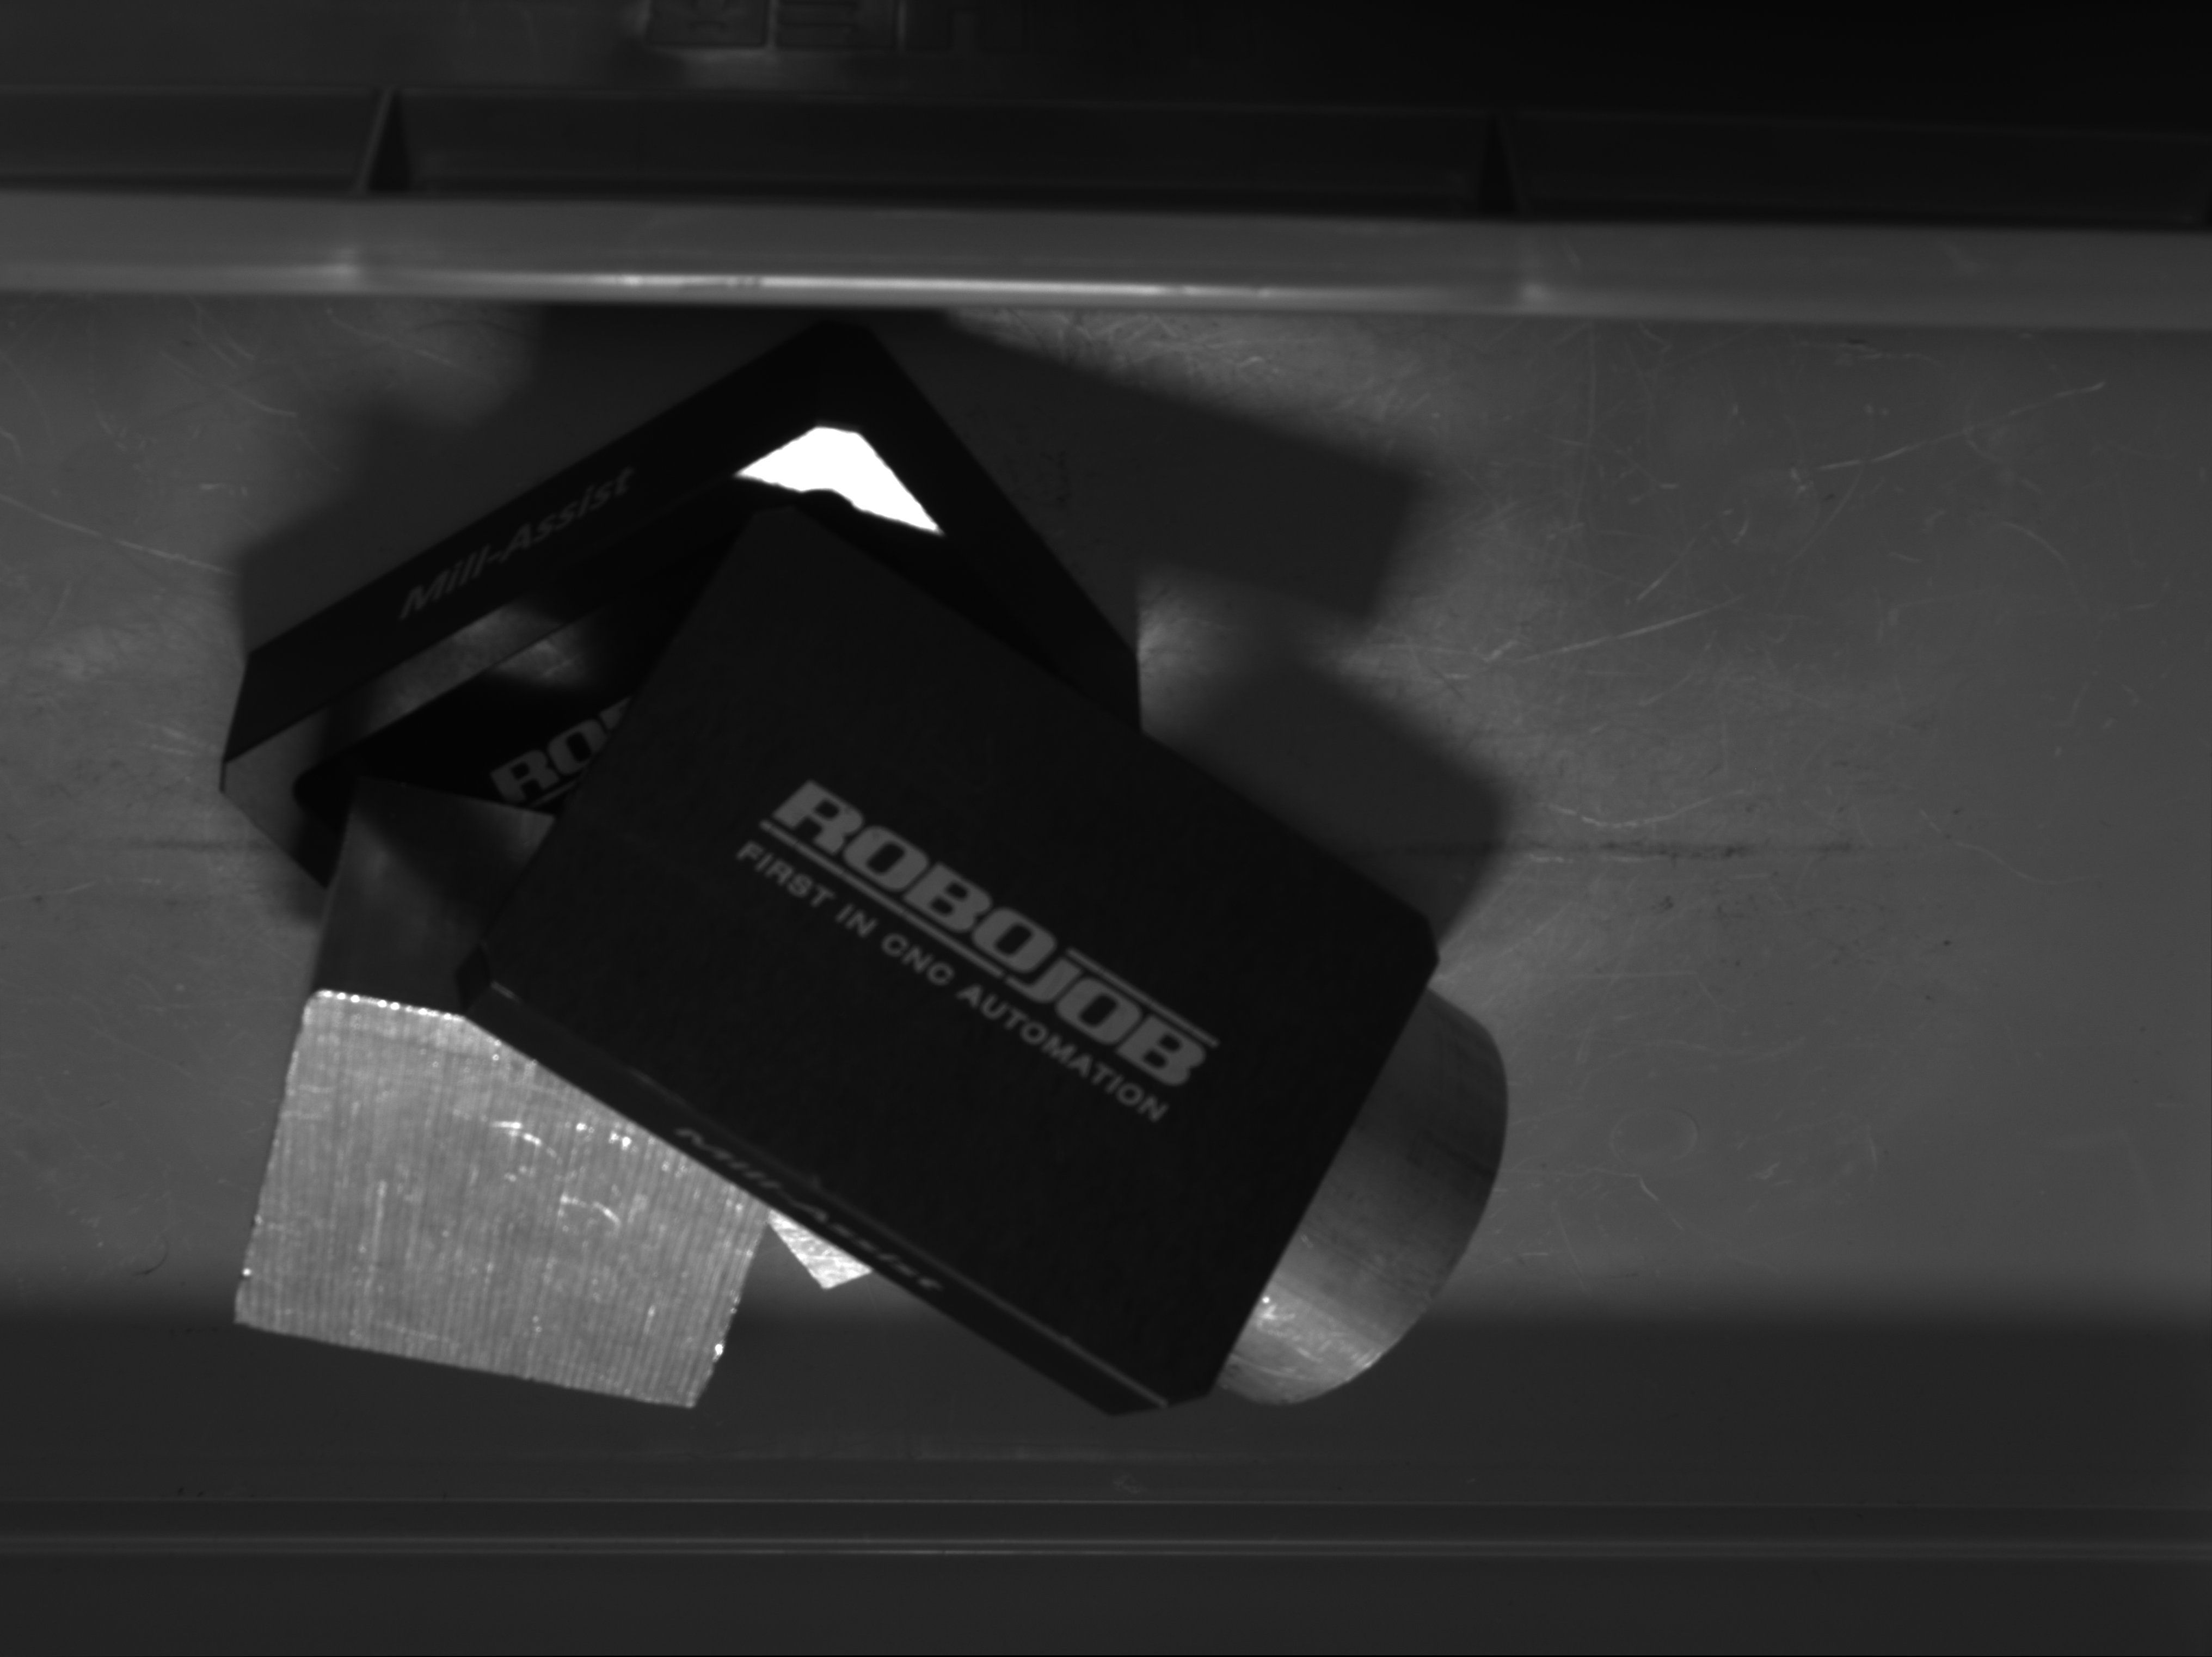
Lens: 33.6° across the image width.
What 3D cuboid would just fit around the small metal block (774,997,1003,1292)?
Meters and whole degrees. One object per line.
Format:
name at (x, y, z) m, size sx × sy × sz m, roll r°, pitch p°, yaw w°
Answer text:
small metal block at (-0.043, 0.054, 0.681) m, size 0.050 × 0.025 × 0.050 m, roll -23°, pitch 127°, yaw 16°

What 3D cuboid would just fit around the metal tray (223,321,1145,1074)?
metal tray at (-0.070, -0.017, 0.616) m, size 0.130 × 0.030 × 0.090 m, roll -27°, pitch 126°, yaw 19°

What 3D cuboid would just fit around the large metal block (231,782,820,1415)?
large metal block at (-0.097, 0.046, 0.615) m, size 0.080 × 0.050 × 0.080 m, roll 13°, pitch 128°, yaw -12°

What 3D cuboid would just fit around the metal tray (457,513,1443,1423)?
metal tray at (-0.023, 0.023, 0.575) m, size 0.130 × 0.090 × 0.030 m, roll 33°, pitch 161°, yaw -9°

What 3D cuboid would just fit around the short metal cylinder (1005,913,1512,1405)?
short metal cylinder at (0.026, 0.055, 0.649) m, size 0.050 × 0.080 × 0.080 m, roll 32°, pitch 122°, yaw -25°
